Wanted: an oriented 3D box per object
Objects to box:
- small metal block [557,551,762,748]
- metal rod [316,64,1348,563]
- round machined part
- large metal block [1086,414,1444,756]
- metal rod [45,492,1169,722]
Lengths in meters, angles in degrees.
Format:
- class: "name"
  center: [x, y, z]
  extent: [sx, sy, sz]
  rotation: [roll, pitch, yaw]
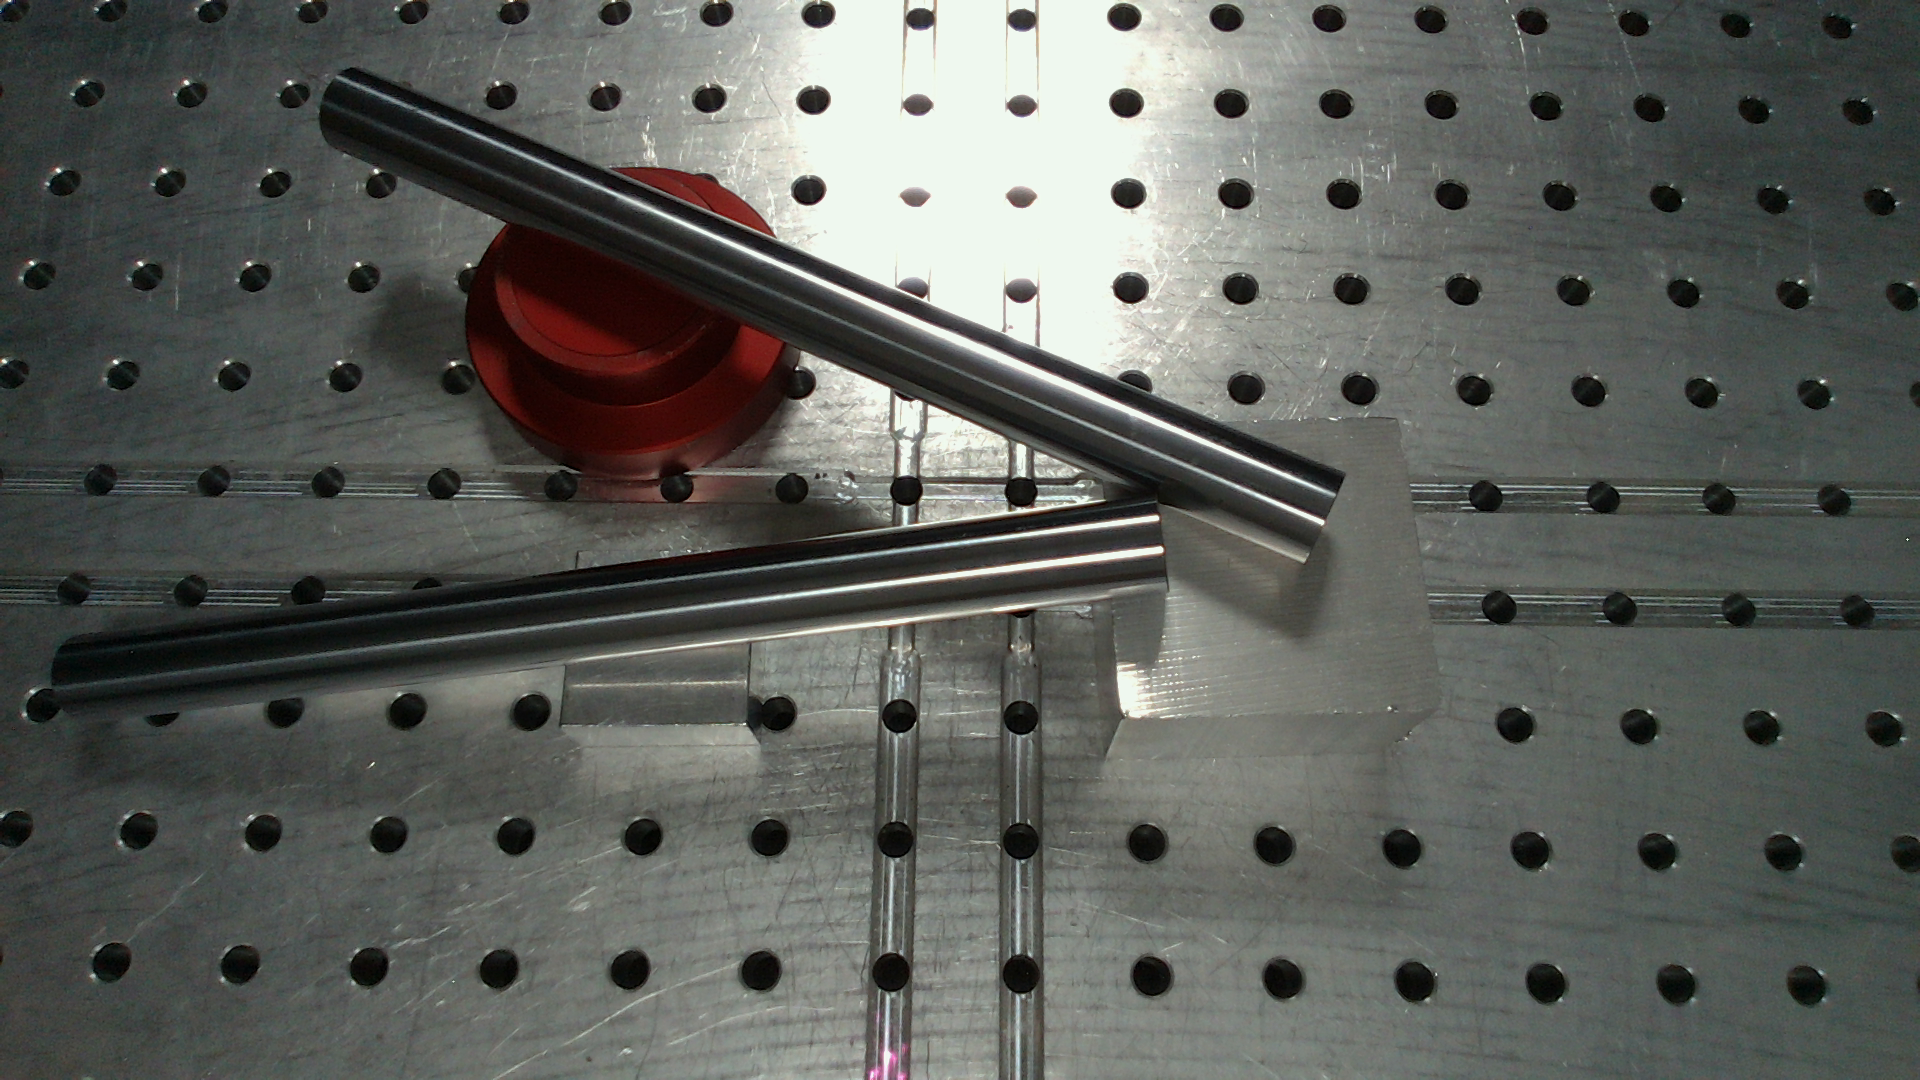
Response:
- class: "small metal block"
  center: [-0.082, 0.031, 0.386]
  extent: [0.050, 0.025, 0.050]
  rotation: [0, 70, 0]
- class: "metal rod"
  center: [-0.043, -0.066, 0.370]
  extent: [0.300, 0.025, 0.025]
  rotation: [24, 72, 11]
- class: "round machined part"
  center: [-0.100, -0.071, 0.413]
  extent: [0.098, 0.042, 0.098]
  rotation: [0, 70, 0]
- class: "large metal block"
  center: [0.078, 0.014, 0.376]
  extent: [0.080, 0.050, 0.080]
  rotation: [-2, 70, -1]
- class: "metal rod"
  center: [-0.097, 0.019, 0.361]
  extent: [0.300, 0.025, 0.025]
  rotation: [-7, 70, 8]
